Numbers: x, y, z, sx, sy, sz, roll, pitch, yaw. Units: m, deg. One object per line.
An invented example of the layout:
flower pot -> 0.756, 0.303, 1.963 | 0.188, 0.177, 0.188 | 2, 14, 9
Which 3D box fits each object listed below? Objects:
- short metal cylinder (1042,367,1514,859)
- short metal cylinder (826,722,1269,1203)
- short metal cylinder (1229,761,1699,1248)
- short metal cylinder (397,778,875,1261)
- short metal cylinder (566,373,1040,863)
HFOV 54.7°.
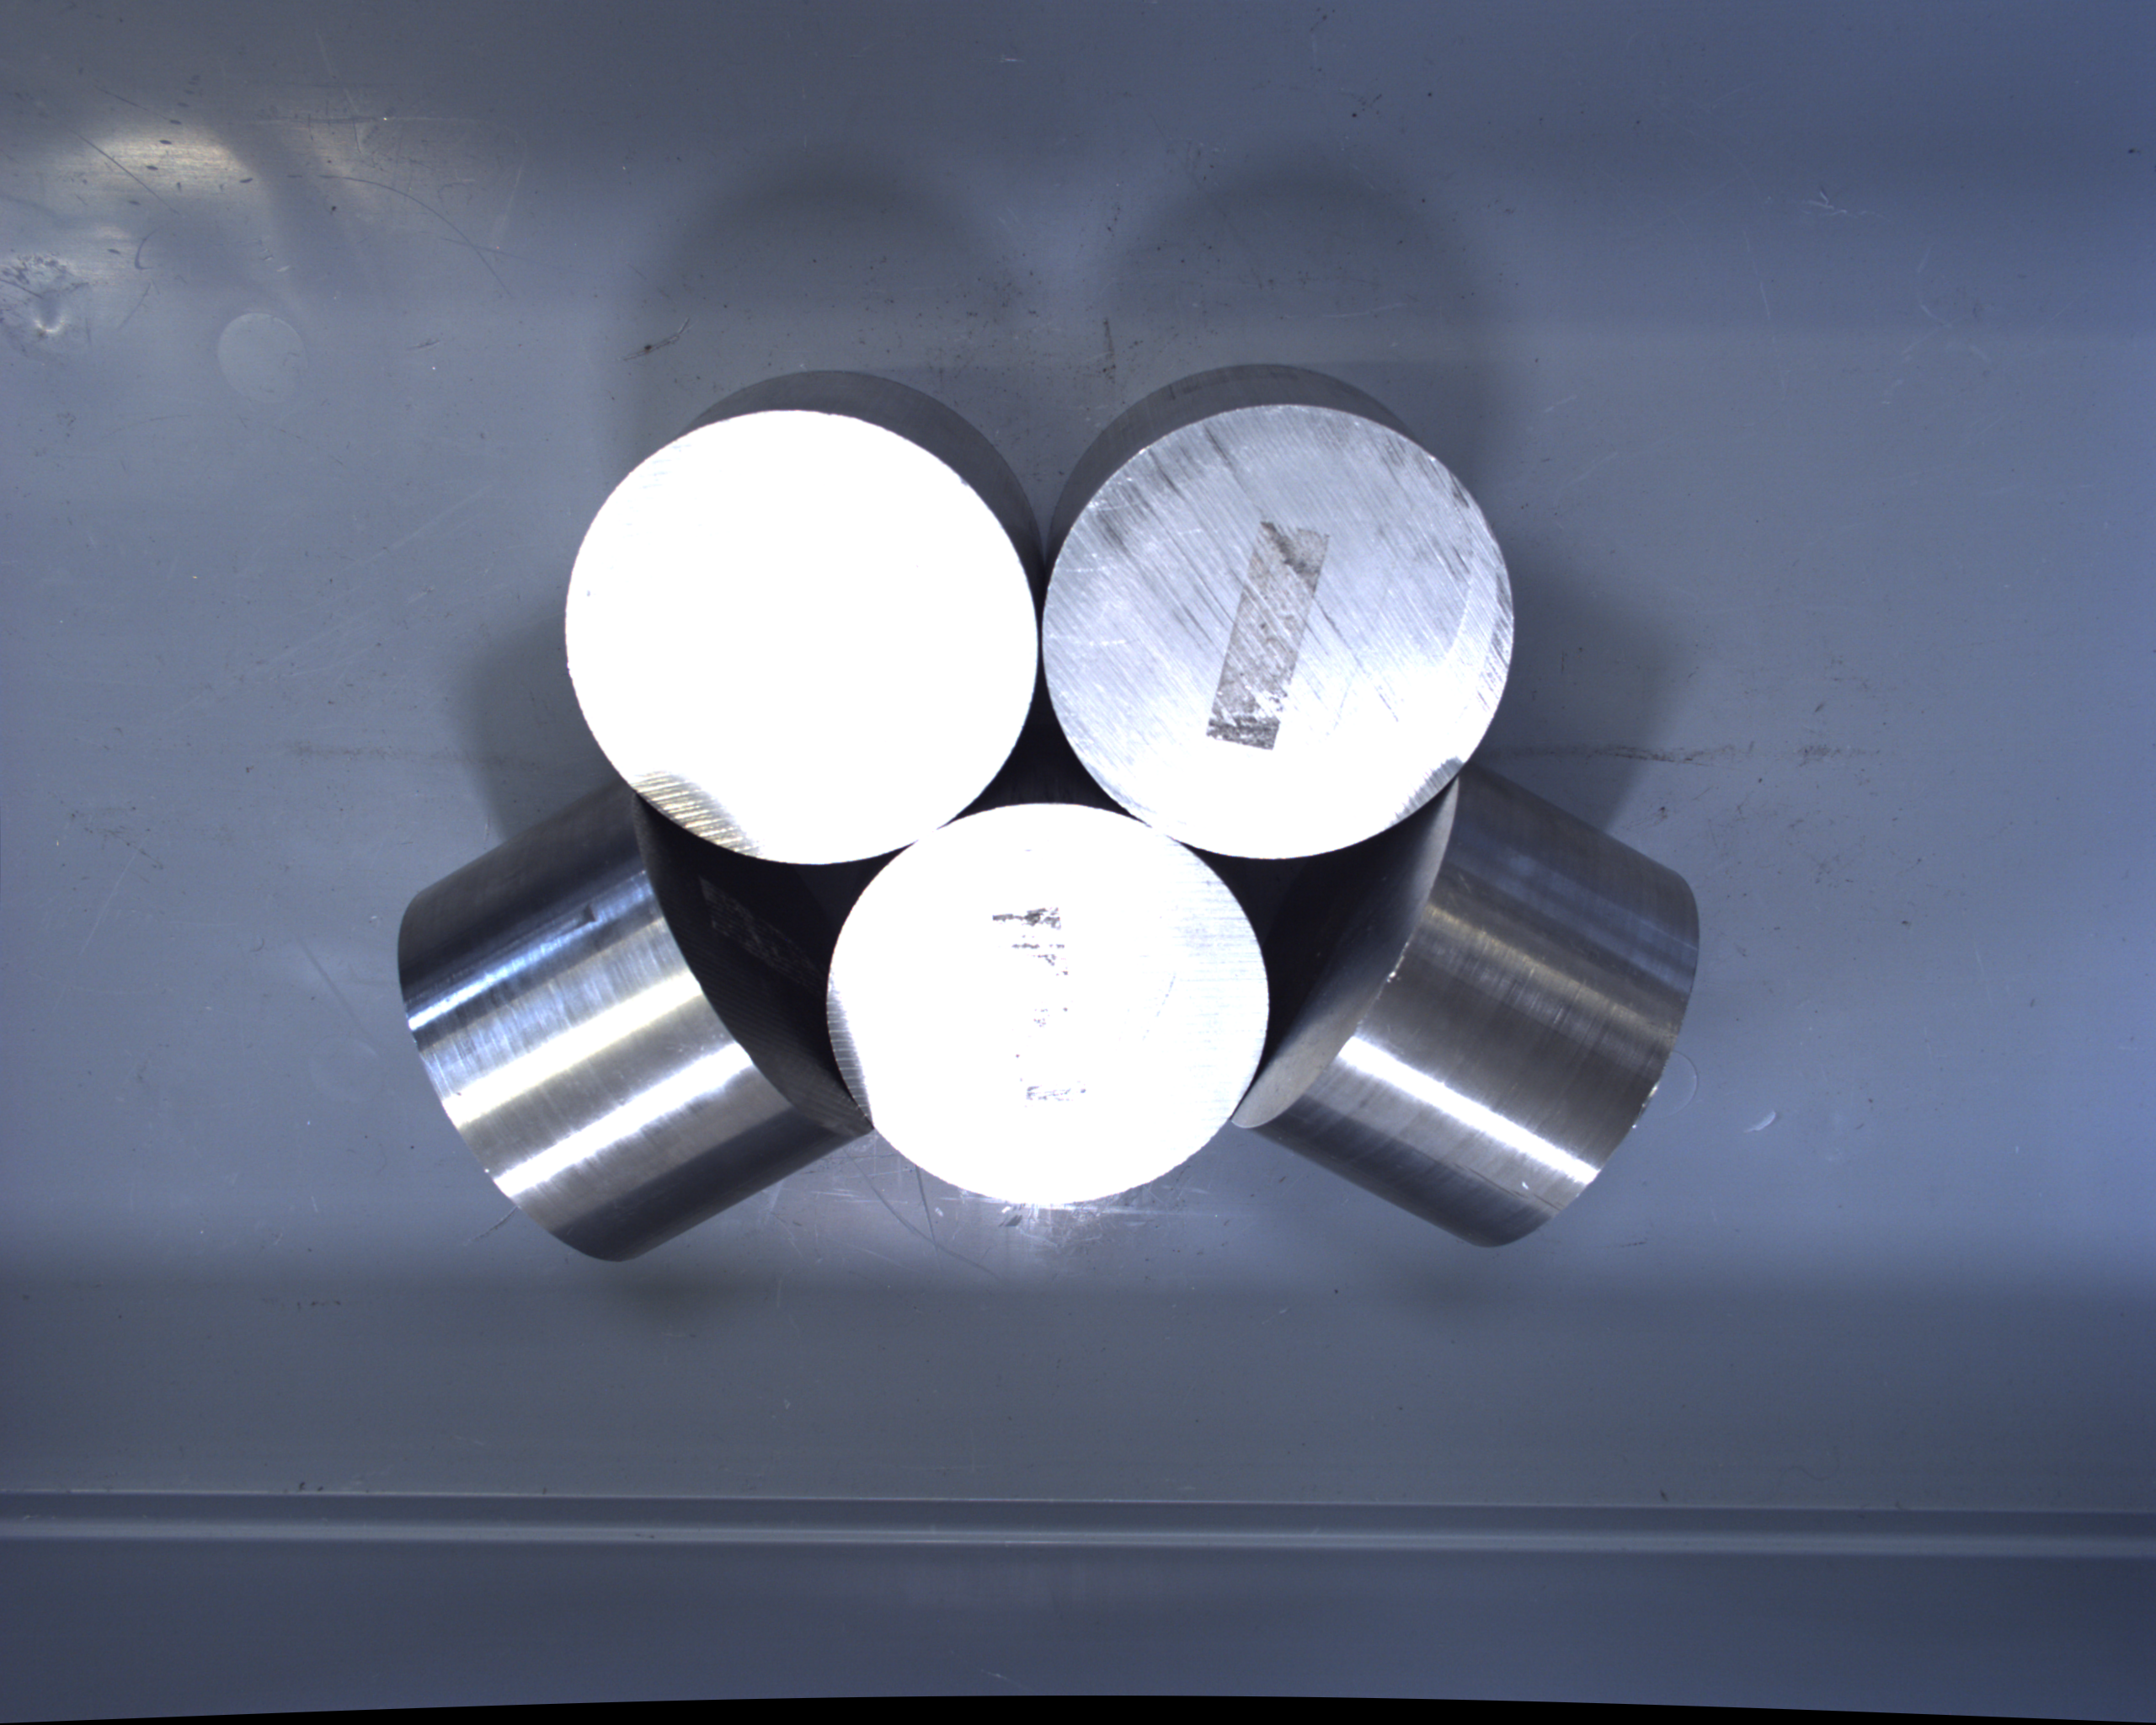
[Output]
short metal cylinder -> 0.034, -0.047, 0.379 | 0.081, 0.050, 0.079 | 0, 110, 0
short metal cylinder -> -0.005, 0.018, 0.403 | 0.081, 0.050, 0.079 | 0, 110, 0
short metal cylinder -> 0.070, 0.025, 0.390 | 0.050, 0.080, 0.080 | 28, 108, -10
short metal cylinder -> -0.080, 0.027, 0.390 | 0.050, 0.080, 0.080 | -29, 108, 10
short metal cylinder -> -0.047, -0.046, 0.379 | 0.081, 0.050, 0.079 | 0, 110, 0
